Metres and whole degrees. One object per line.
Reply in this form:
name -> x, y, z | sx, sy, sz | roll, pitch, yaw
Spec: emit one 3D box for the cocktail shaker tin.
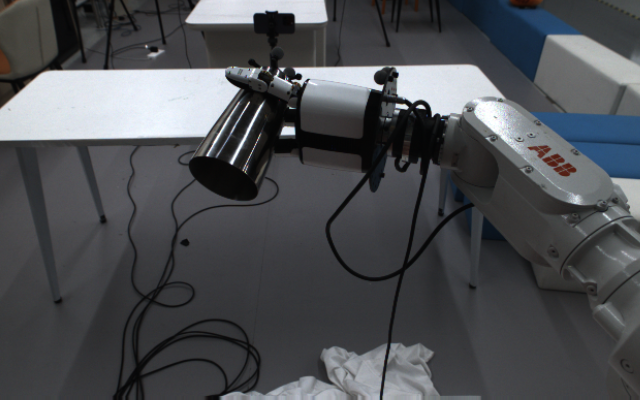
cocktail shaker tin -> -0.093, -0.097, 0.636 | 0.093, 0.093, 0.170 | 13, 59, 16
